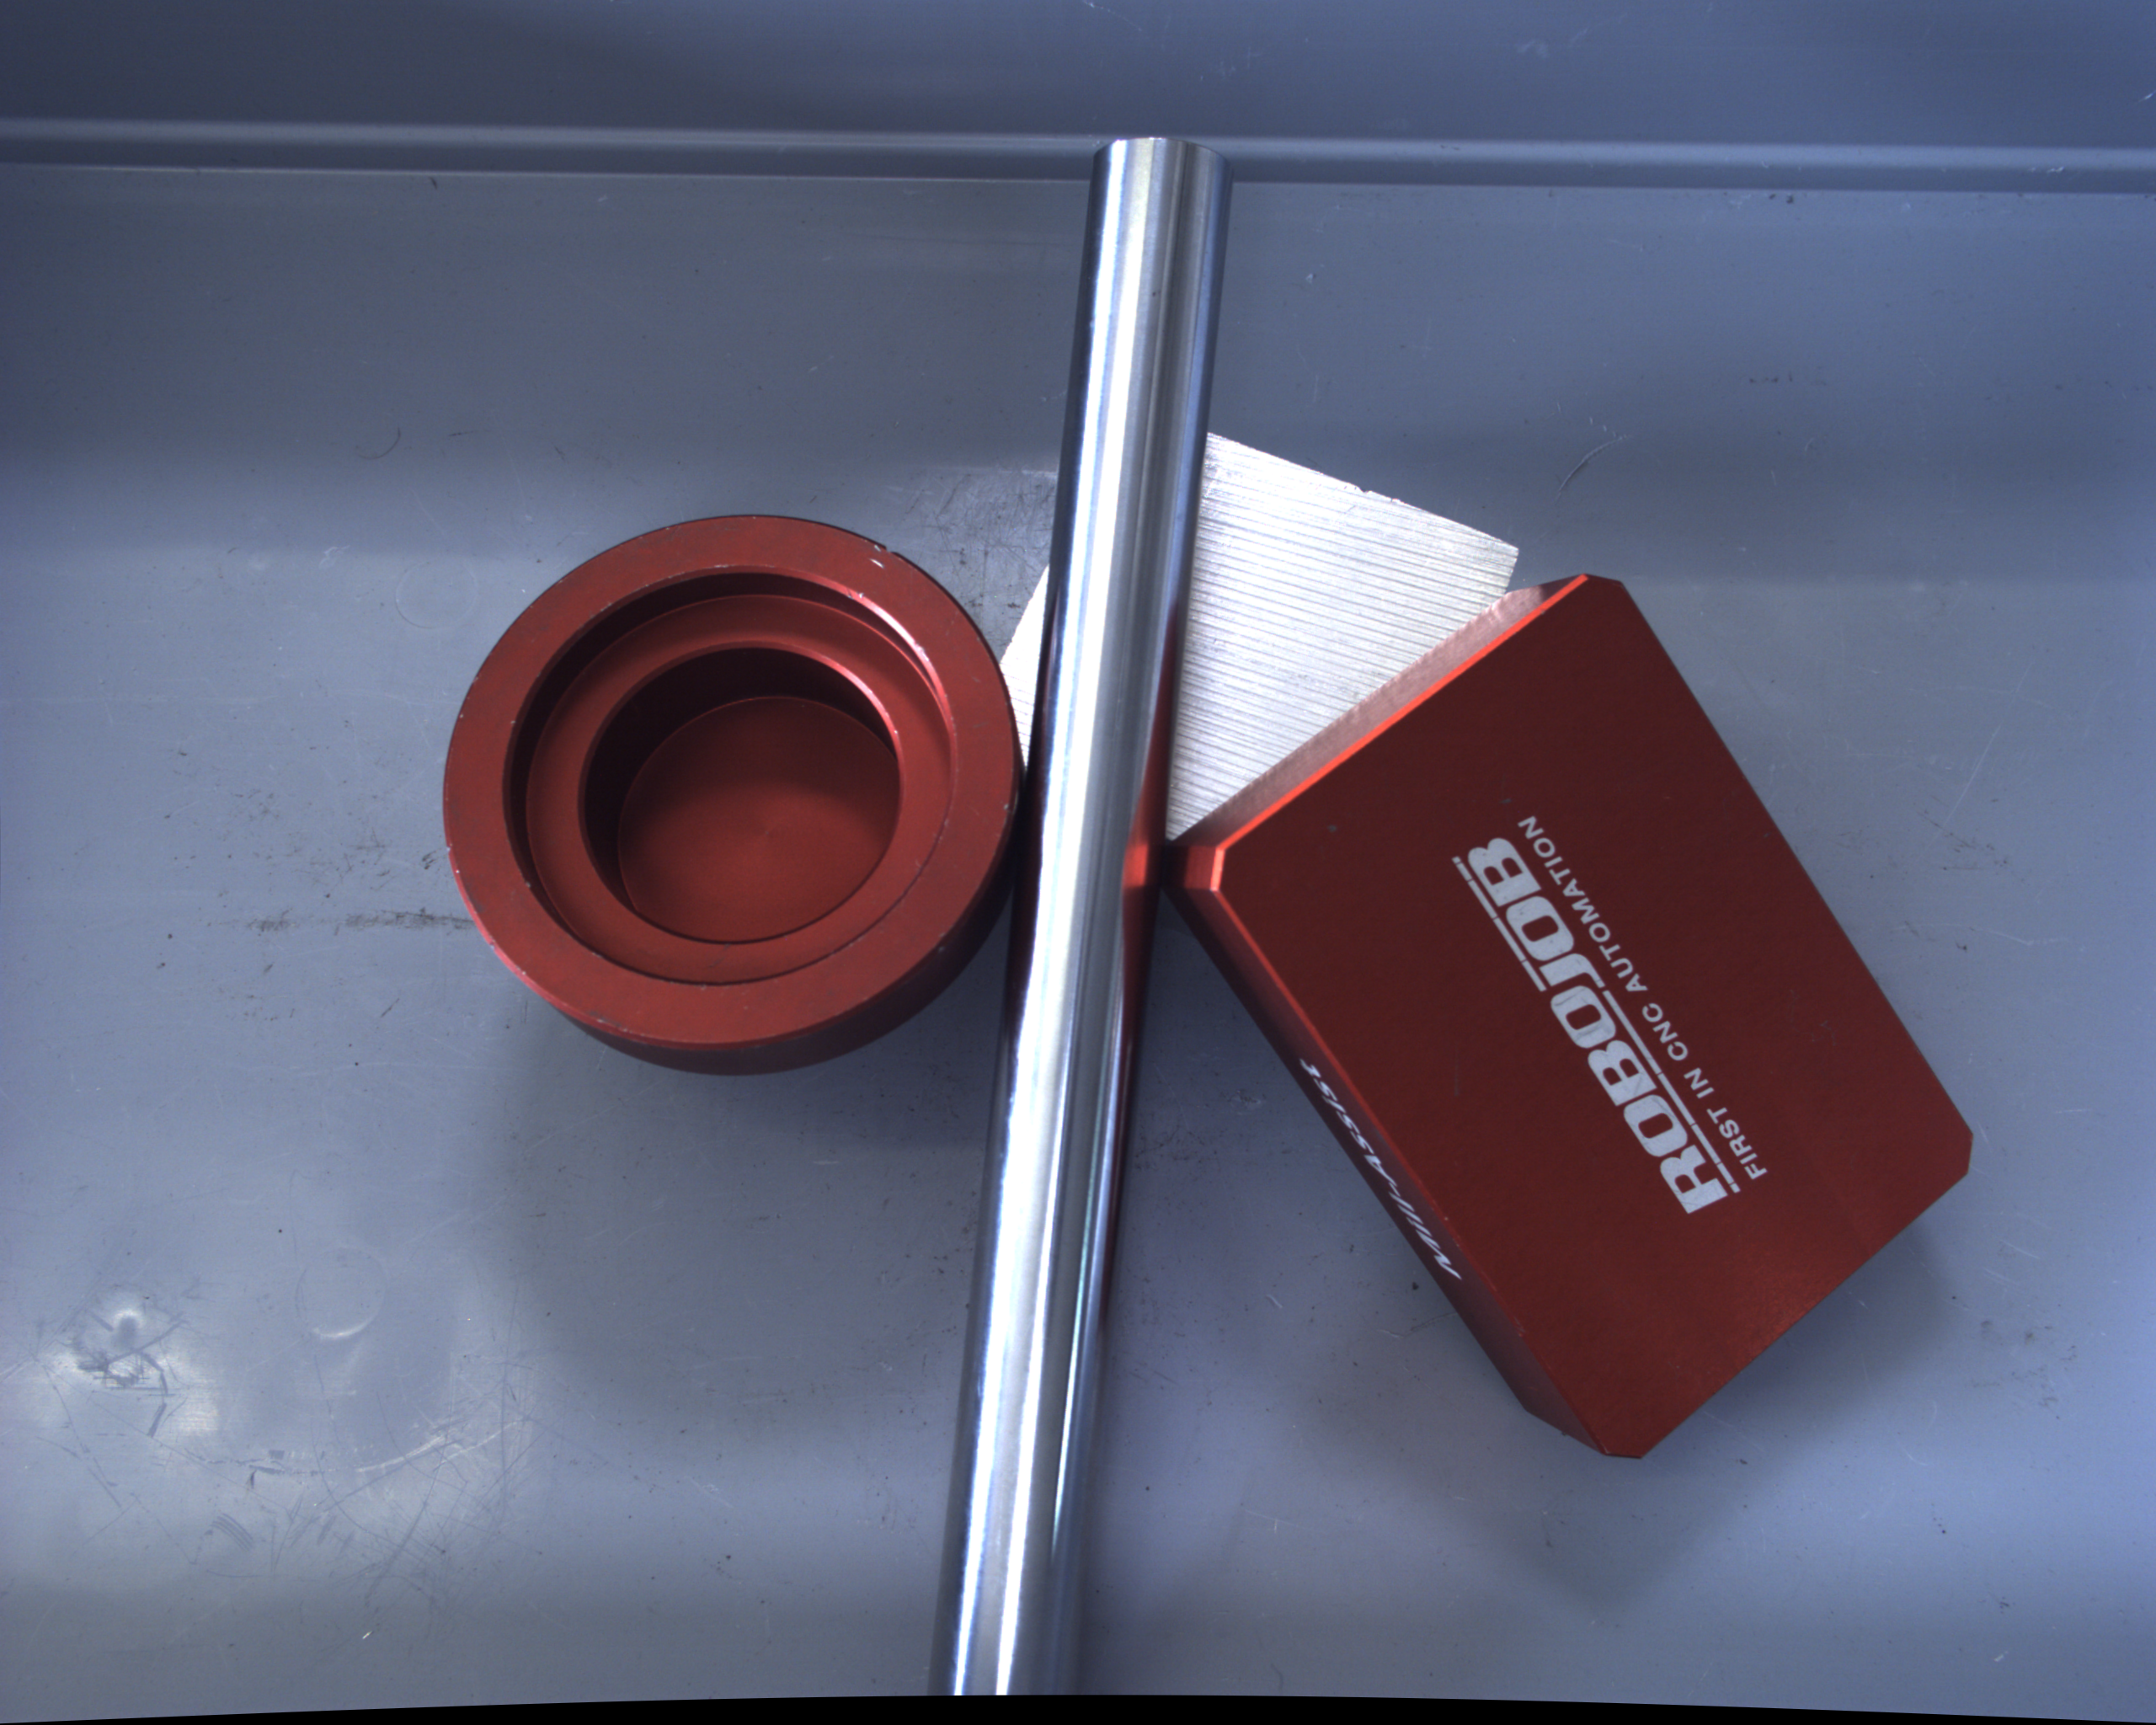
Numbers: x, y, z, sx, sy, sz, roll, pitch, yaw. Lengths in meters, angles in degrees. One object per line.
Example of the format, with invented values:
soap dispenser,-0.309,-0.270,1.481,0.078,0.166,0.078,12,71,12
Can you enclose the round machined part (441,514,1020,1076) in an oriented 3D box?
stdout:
round machined part,-0.058,-0.009,0.373,0.099,0.042,0.098,-1,71,3

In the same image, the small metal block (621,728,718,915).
small metal block,-0.073,-0.011,0.412,0.050,0.025,0.050,-21,72,-8

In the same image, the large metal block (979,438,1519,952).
large metal block,0.030,-0.031,0.407,0.080,0.050,0.080,22,71,7

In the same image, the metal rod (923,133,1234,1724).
metal rod,-0.001,0.025,0.356,0.025,0.025,0.298,6,86,2

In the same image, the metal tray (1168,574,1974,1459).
metal tray,0.088,0.027,0.369,0.090,0.030,0.130,-37,99,-12
